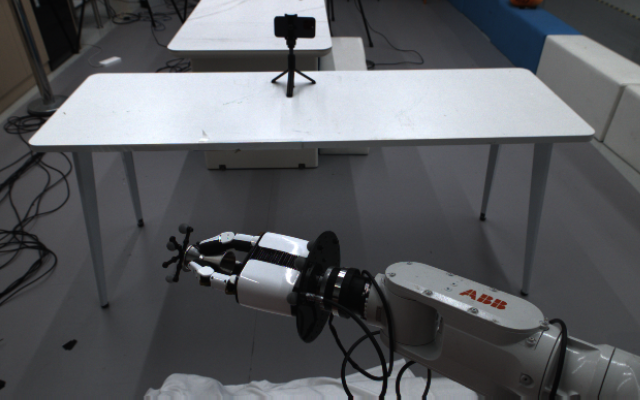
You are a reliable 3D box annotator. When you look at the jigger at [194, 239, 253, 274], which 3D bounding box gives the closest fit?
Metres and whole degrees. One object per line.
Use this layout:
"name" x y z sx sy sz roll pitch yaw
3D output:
"jigger" -0.166 0.093 0.749 0.071 0.043 0.043 10 35 21
